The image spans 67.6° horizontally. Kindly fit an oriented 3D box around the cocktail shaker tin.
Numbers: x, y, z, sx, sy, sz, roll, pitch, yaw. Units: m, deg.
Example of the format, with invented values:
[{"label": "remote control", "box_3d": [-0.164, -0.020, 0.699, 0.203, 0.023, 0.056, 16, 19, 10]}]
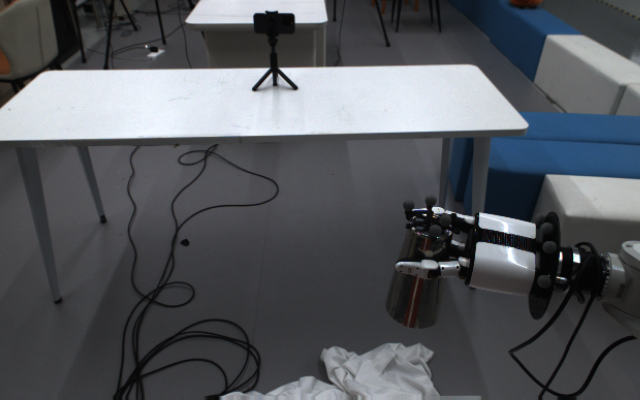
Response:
[{"label": "cocktail shaker tin", "box_3d": [0.162, 0.105, 0.764, 0.093, 0.170, 0.093, 3, 33, -2]}]
